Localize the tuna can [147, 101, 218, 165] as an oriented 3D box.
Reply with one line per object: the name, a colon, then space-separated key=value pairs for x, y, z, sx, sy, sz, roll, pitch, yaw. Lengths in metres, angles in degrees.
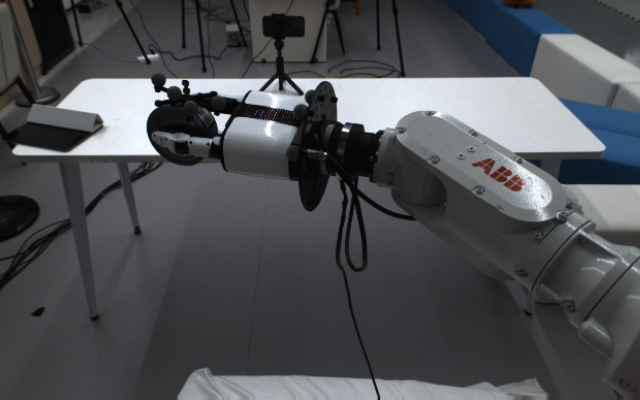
tuna can: x=-0.177 y=-0.088 z=0.630 sx=0.085 sy=0.085 sz=0.034 roll=9 pitch=34 yaw=10
